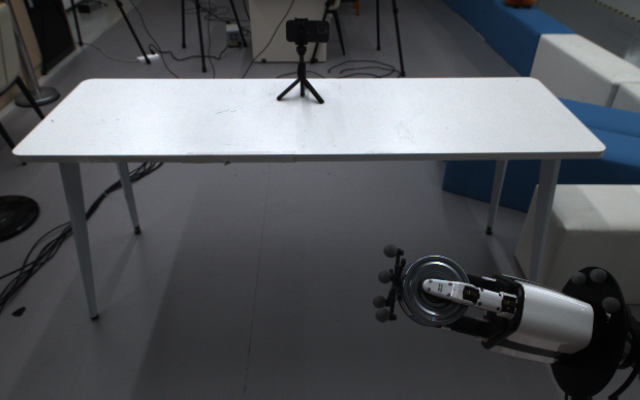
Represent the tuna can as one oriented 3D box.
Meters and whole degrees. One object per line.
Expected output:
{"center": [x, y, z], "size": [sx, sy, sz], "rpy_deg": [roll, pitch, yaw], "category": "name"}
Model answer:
{"center": [0.142, 0.108, 0.597], "size": [0.085, 0.034, 0.085], "rpy_deg": [2, 73, -6], "category": "tuna can"}
